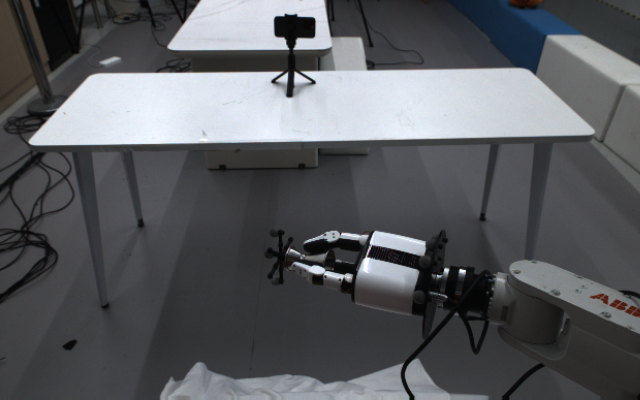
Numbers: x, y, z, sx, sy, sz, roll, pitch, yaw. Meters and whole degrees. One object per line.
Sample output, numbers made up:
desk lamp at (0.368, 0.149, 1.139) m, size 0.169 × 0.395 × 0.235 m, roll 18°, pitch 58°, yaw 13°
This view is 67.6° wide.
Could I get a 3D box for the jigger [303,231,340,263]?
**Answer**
jigger at (-0.009, 0.091, 0.749) m, size 0.071 × 0.043 × 0.043 m, roll 4°, pitch 33°, yaw 23°
